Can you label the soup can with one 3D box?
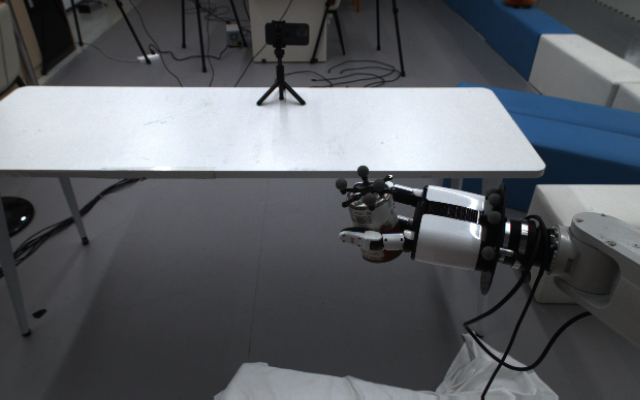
[{"bbox_3d":[0.083,0.033,0.712,0.067,0.101,0.067,-13,31,8],"label":"soup can"}]
